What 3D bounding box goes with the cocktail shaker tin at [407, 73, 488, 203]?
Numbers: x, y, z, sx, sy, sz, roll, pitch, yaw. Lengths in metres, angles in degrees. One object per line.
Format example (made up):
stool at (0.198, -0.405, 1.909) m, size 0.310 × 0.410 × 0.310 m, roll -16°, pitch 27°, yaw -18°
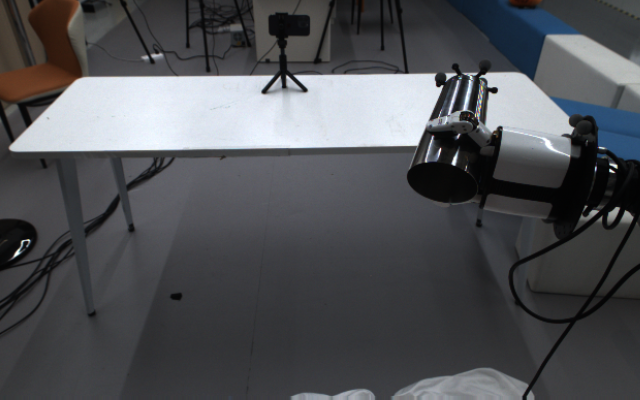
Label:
cocktail shaker tin at (0.185, -0.092, 0.668) m, size 0.093 × 0.093 × 0.170 m, roll 13°, pitch 60°, yaw 16°
